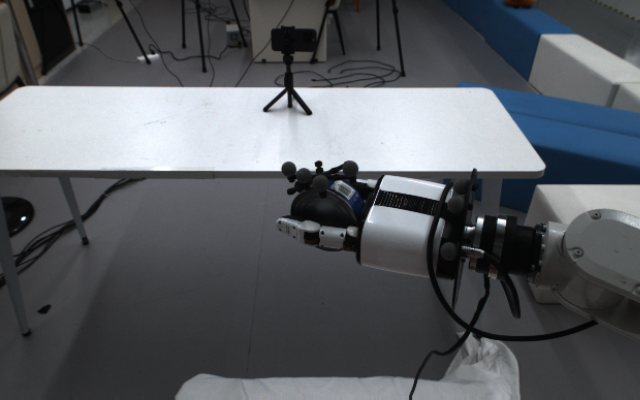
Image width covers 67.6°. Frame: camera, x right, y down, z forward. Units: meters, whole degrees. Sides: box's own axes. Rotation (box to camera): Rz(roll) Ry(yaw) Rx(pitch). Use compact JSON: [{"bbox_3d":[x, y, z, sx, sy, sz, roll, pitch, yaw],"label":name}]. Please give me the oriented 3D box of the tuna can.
[{"bbox_3d":[0.013,0.015,0.571,0.085,0.085,0.034,17,37,20],"label":"tuna can"}]
